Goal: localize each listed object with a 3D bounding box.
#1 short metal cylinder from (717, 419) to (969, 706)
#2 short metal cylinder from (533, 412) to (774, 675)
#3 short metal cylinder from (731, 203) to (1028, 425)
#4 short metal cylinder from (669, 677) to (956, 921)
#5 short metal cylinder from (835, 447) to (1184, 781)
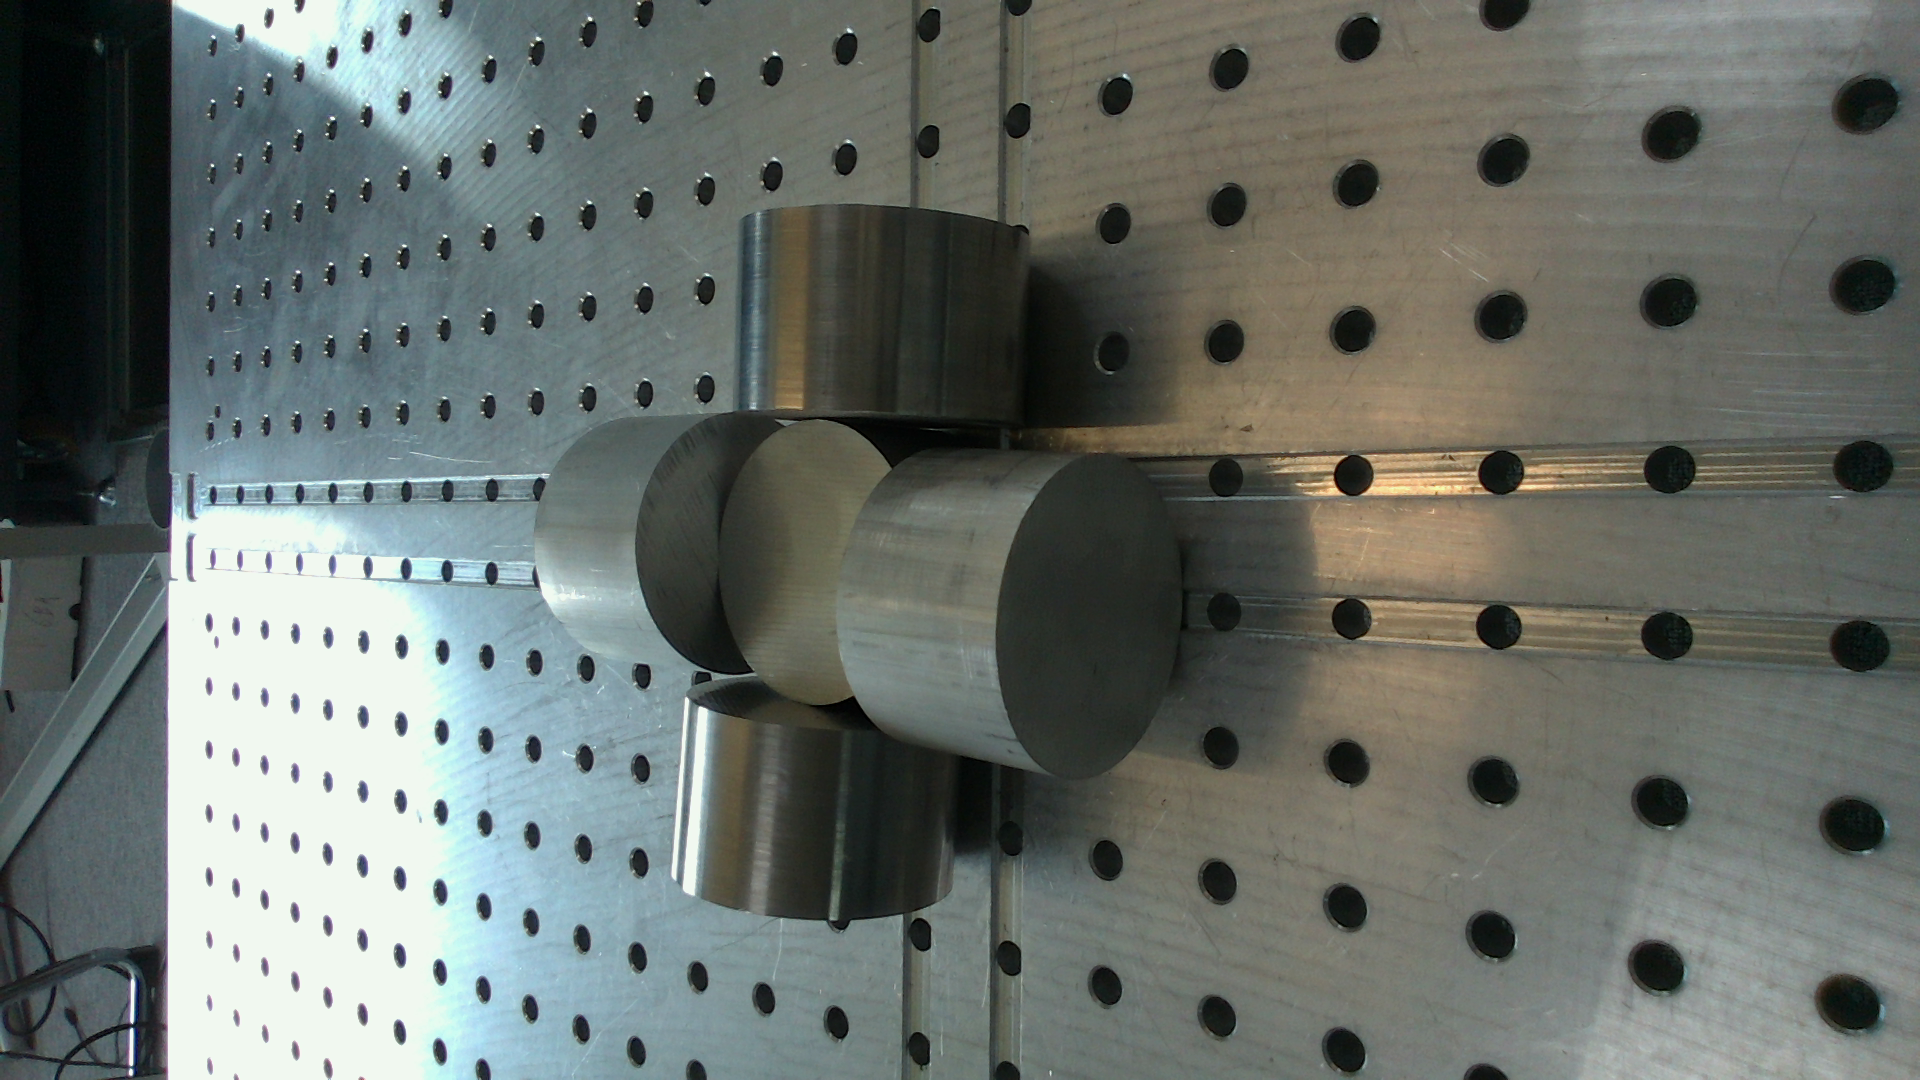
[{"bbox_3d":[-0.025,0.006,0.404,0.080,0.050,0.080,0,90,39],"label":"short metal cylinder"},{"bbox_3d":[-0.085,0.000,0.433,0.050,0.080,0.080,2,91,39],"label":"short metal cylinder"},{"bbox_3d":[-0.022,-0.059,0.380,0.080,0.080,0.050,4,92,40],"label":"short metal cylinder"},{"bbox_3d":[-0.041,0.071,0.395,0.080,0.080,0.050,8,95,40],"label":"short metal cylinder"},{"bbox_3d":[0.014,0.017,0.350,0.050,0.080,0.080,5,93,40],"label":"short metal cylinder"}]
